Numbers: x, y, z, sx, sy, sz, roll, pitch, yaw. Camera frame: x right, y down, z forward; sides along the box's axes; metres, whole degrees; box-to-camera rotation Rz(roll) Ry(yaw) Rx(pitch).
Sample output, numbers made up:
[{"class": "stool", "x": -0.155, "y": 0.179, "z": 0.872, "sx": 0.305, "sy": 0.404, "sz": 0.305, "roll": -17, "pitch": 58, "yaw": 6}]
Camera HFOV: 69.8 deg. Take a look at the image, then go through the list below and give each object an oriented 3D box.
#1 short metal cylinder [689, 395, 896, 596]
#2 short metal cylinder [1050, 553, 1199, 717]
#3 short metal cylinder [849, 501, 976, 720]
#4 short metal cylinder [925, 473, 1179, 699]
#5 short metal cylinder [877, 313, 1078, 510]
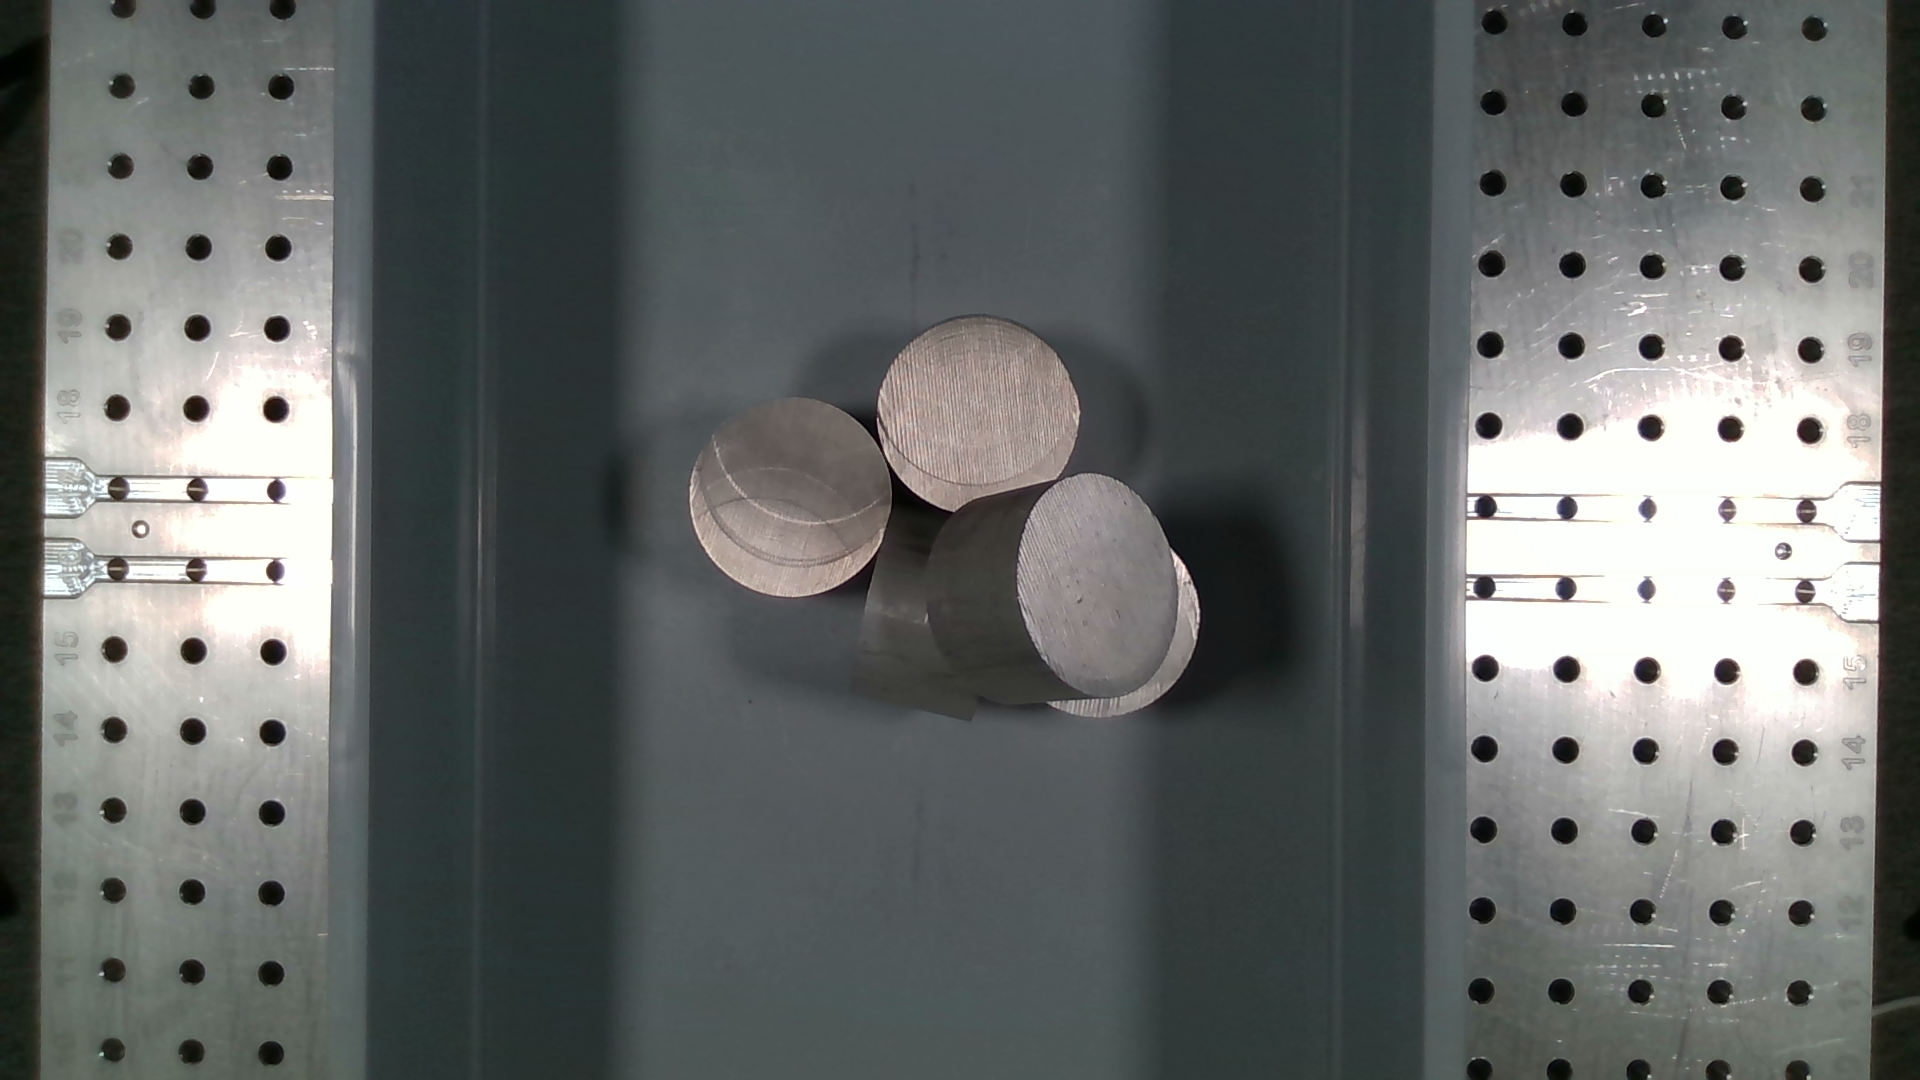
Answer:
[{"class": "short metal cylinder", "x": -0.068, "y": -0.018, "z": 0.573, "sx": 0.080, "sy": 0.050, "sz": 0.080, "roll": 0, "pitch": 90, "yaw": 0}, {"class": "short metal cylinder", "x": 0.055, "y": 0.030, "z": 0.574, "sx": 0.080, "sy": 0.050, "sz": 0.080, "roll": 0, "pitch": 90, "yaw": 0}, {"class": "short metal cylinder", "x": -0.011, "y": 0.028, "z": 0.559, "sx": 0.050, "sy": 0.080, "sz": 0.080, "roll": 13, "pitch": 90, "yaw": 0}, {"class": "short metal cylinder", "x": 0.034, "y": 0.019, "z": 0.503, "sx": 0.080, "sy": 0.050, "sz": 0.080, "roll": 7, "pitch": 79, "yaw": -39}, {"class": "short metal cylinder", "x": 0.007, "y": -0.050, "z": 0.572, "sx": 0.080, "sy": 0.050, "sz": 0.080, "roll": 0, "pitch": 90, "yaw": 0}]
